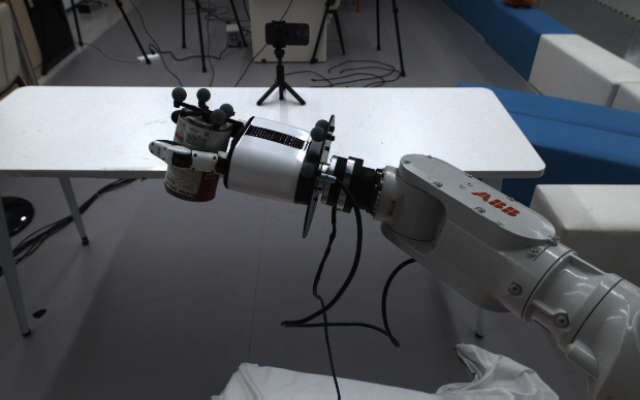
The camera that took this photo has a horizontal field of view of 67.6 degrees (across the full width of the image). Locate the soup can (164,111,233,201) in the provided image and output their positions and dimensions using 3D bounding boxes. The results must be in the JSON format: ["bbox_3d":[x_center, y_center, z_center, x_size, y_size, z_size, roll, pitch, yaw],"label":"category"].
[{"bbox_3d":[-0.154,-0.056,0.613,0.067,0.101,0.067,17,22,-7],"label":"soup can"}]
